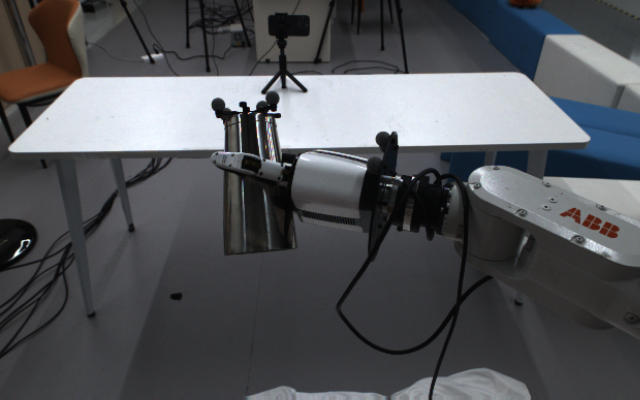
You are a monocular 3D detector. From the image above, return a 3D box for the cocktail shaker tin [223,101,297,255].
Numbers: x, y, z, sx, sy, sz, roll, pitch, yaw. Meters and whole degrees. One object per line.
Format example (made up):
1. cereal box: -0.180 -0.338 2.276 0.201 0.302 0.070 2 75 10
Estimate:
1. cocktail shaker tin: -0.082 -0.019 0.614 0.093 0.170 0.093 -6 -7 -1
